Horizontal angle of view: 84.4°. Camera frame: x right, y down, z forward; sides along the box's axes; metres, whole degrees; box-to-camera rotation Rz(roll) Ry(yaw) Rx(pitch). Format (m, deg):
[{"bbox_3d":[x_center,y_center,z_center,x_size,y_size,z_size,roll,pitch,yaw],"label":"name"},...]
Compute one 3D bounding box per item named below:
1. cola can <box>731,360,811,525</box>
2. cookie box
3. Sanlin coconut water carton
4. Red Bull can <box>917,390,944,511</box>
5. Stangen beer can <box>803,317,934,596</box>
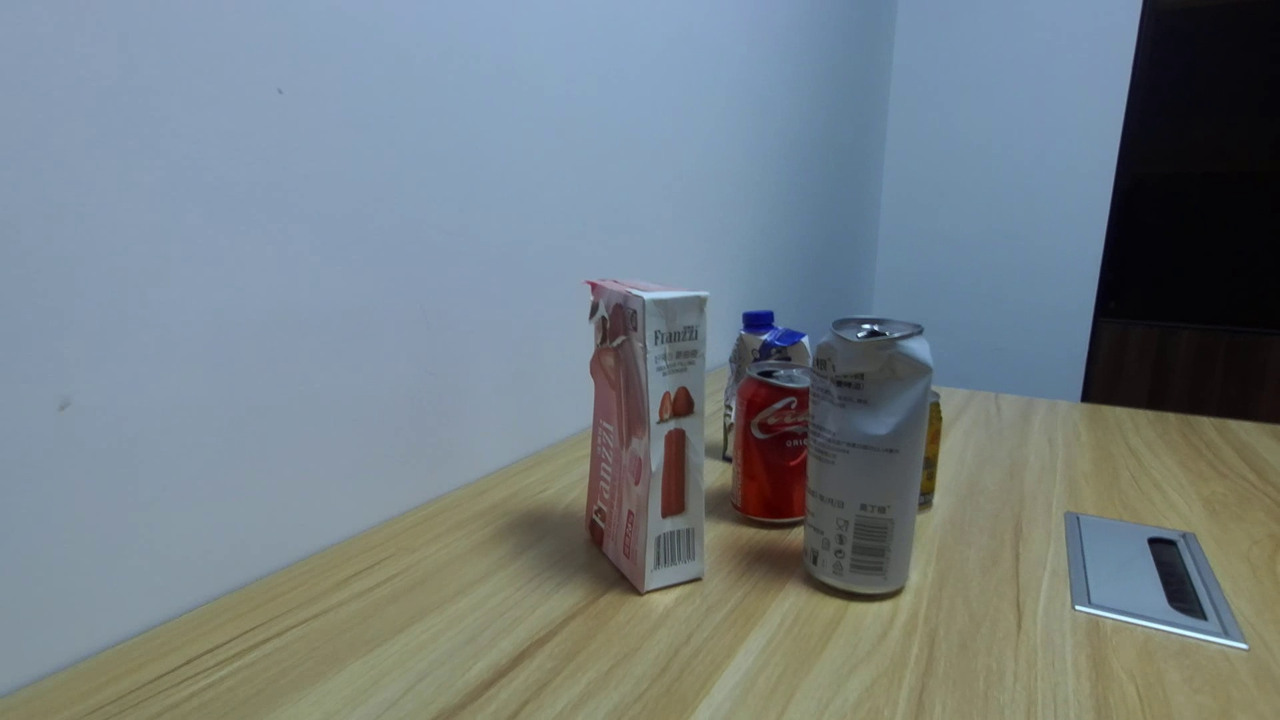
[{"bbox_3d":[0.107,0.061,0.542,0.072,0.117,0.065,-2,12,-10],"label":"cola can"},{"bbox_3d":[0.000,0.044,0.456,0.059,0.186,0.104,-2,12,-23],"label":"cookie box"},{"bbox_3d":[0.115,0.027,0.643,0.068,0.144,0.057,14,19,26],"label":"Sanlin coconut water carton"},{"bbox_3d":[0.212,0.071,0.584,0.067,0.093,0.067,1,13,0],"label":"Red Bull can"},{"bbox_3d":[0.139,0.060,0.436,0.066,0.166,0.066,1,13,2],"label":"Stangen beer can"}]
